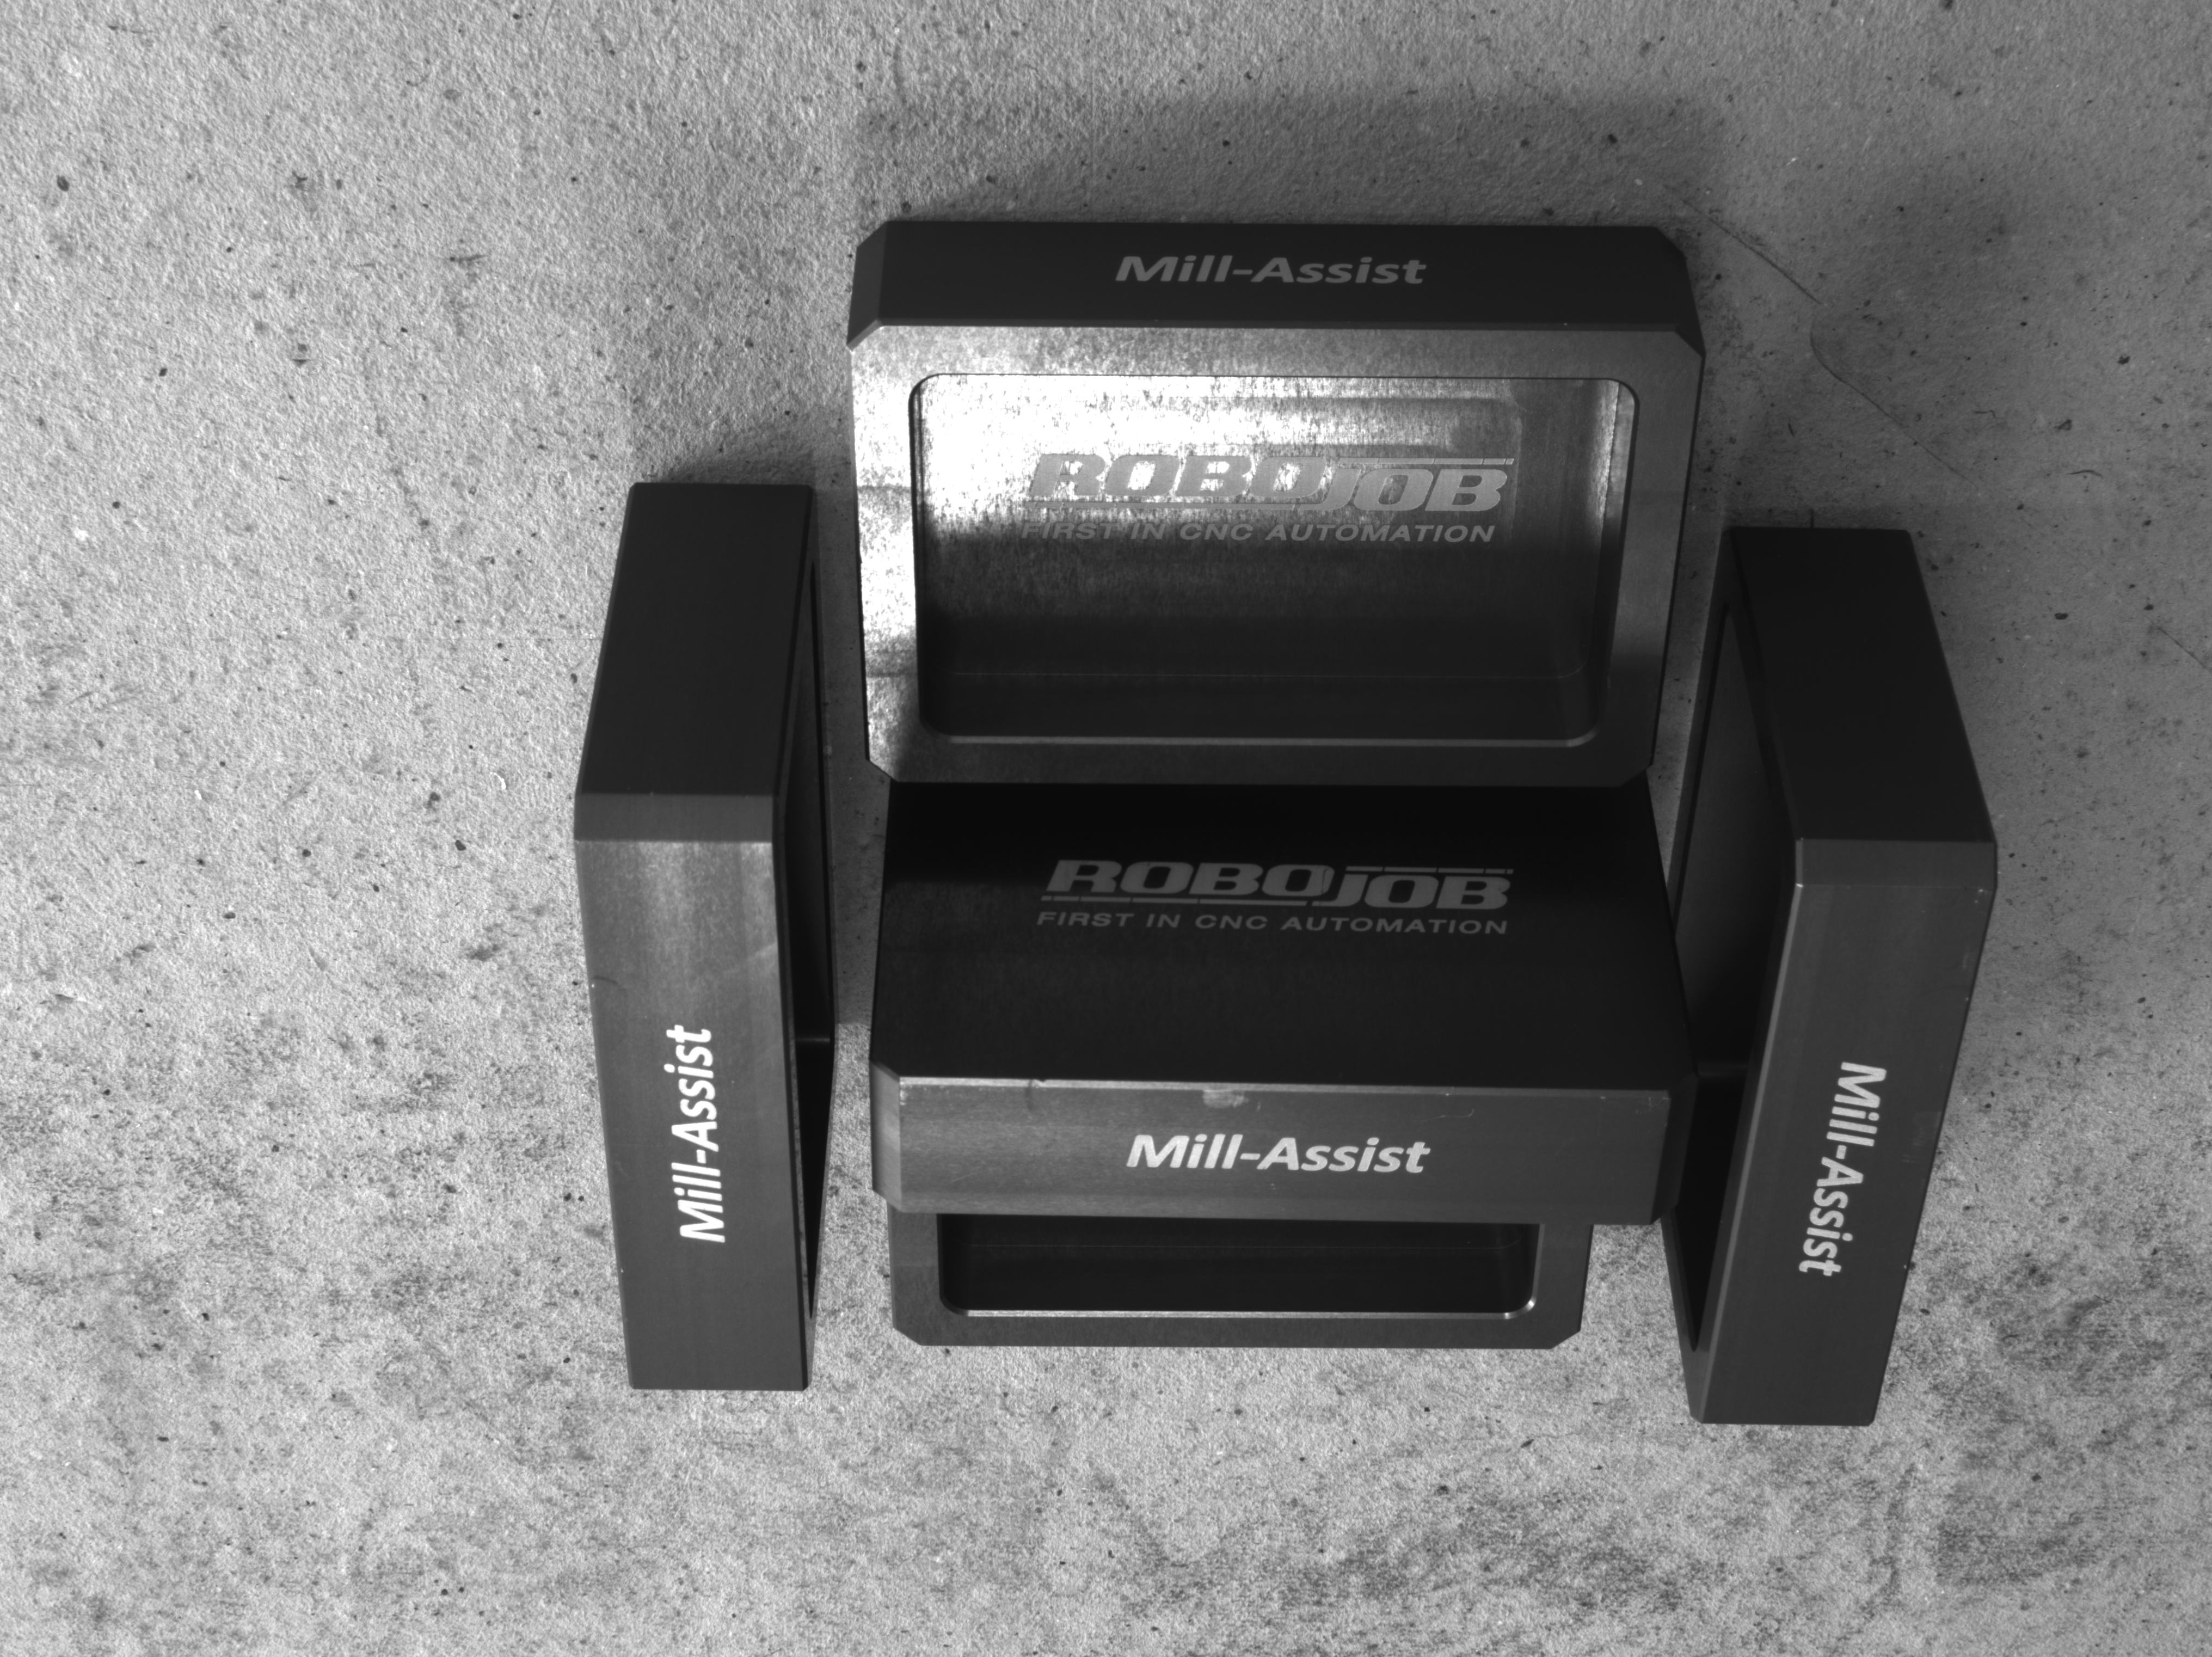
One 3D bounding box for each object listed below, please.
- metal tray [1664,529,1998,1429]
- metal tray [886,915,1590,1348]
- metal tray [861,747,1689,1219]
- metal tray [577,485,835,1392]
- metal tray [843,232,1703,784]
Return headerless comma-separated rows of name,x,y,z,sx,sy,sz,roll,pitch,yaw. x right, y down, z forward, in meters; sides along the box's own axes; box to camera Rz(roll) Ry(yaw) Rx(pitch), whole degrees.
metal tray,0.117,0.026,0.619,0.030,0.090,0.130,1,130,-1
metal tray,0.025,0.055,0.683,0.130,0.030,0.090,0,129,0
metal tray,0.026,0.022,0.617,0.130,0.090,0.030,1,131,-1
metal tray,-0.064,0.020,0.613,0.030,0.090,0.130,1,130,-1
metal tray,0.025,-0.050,0.594,0.130,0.030,0.090,0,133,0
